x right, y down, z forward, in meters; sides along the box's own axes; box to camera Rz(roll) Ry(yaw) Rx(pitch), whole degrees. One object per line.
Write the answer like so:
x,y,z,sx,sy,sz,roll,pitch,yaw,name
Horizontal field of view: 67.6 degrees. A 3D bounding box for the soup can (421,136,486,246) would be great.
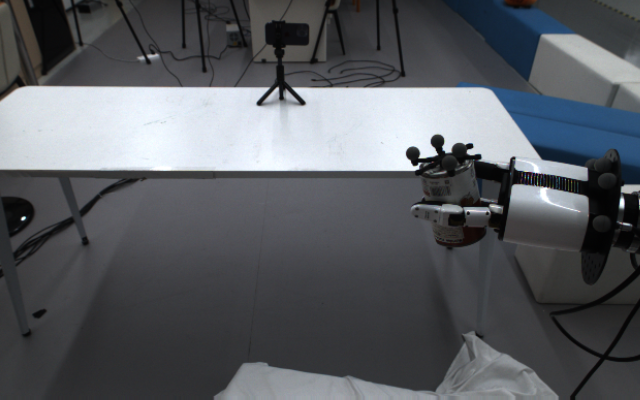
0.169,-0.002,0.612,0.067,0.101,0.067,-16,22,7,soup can
